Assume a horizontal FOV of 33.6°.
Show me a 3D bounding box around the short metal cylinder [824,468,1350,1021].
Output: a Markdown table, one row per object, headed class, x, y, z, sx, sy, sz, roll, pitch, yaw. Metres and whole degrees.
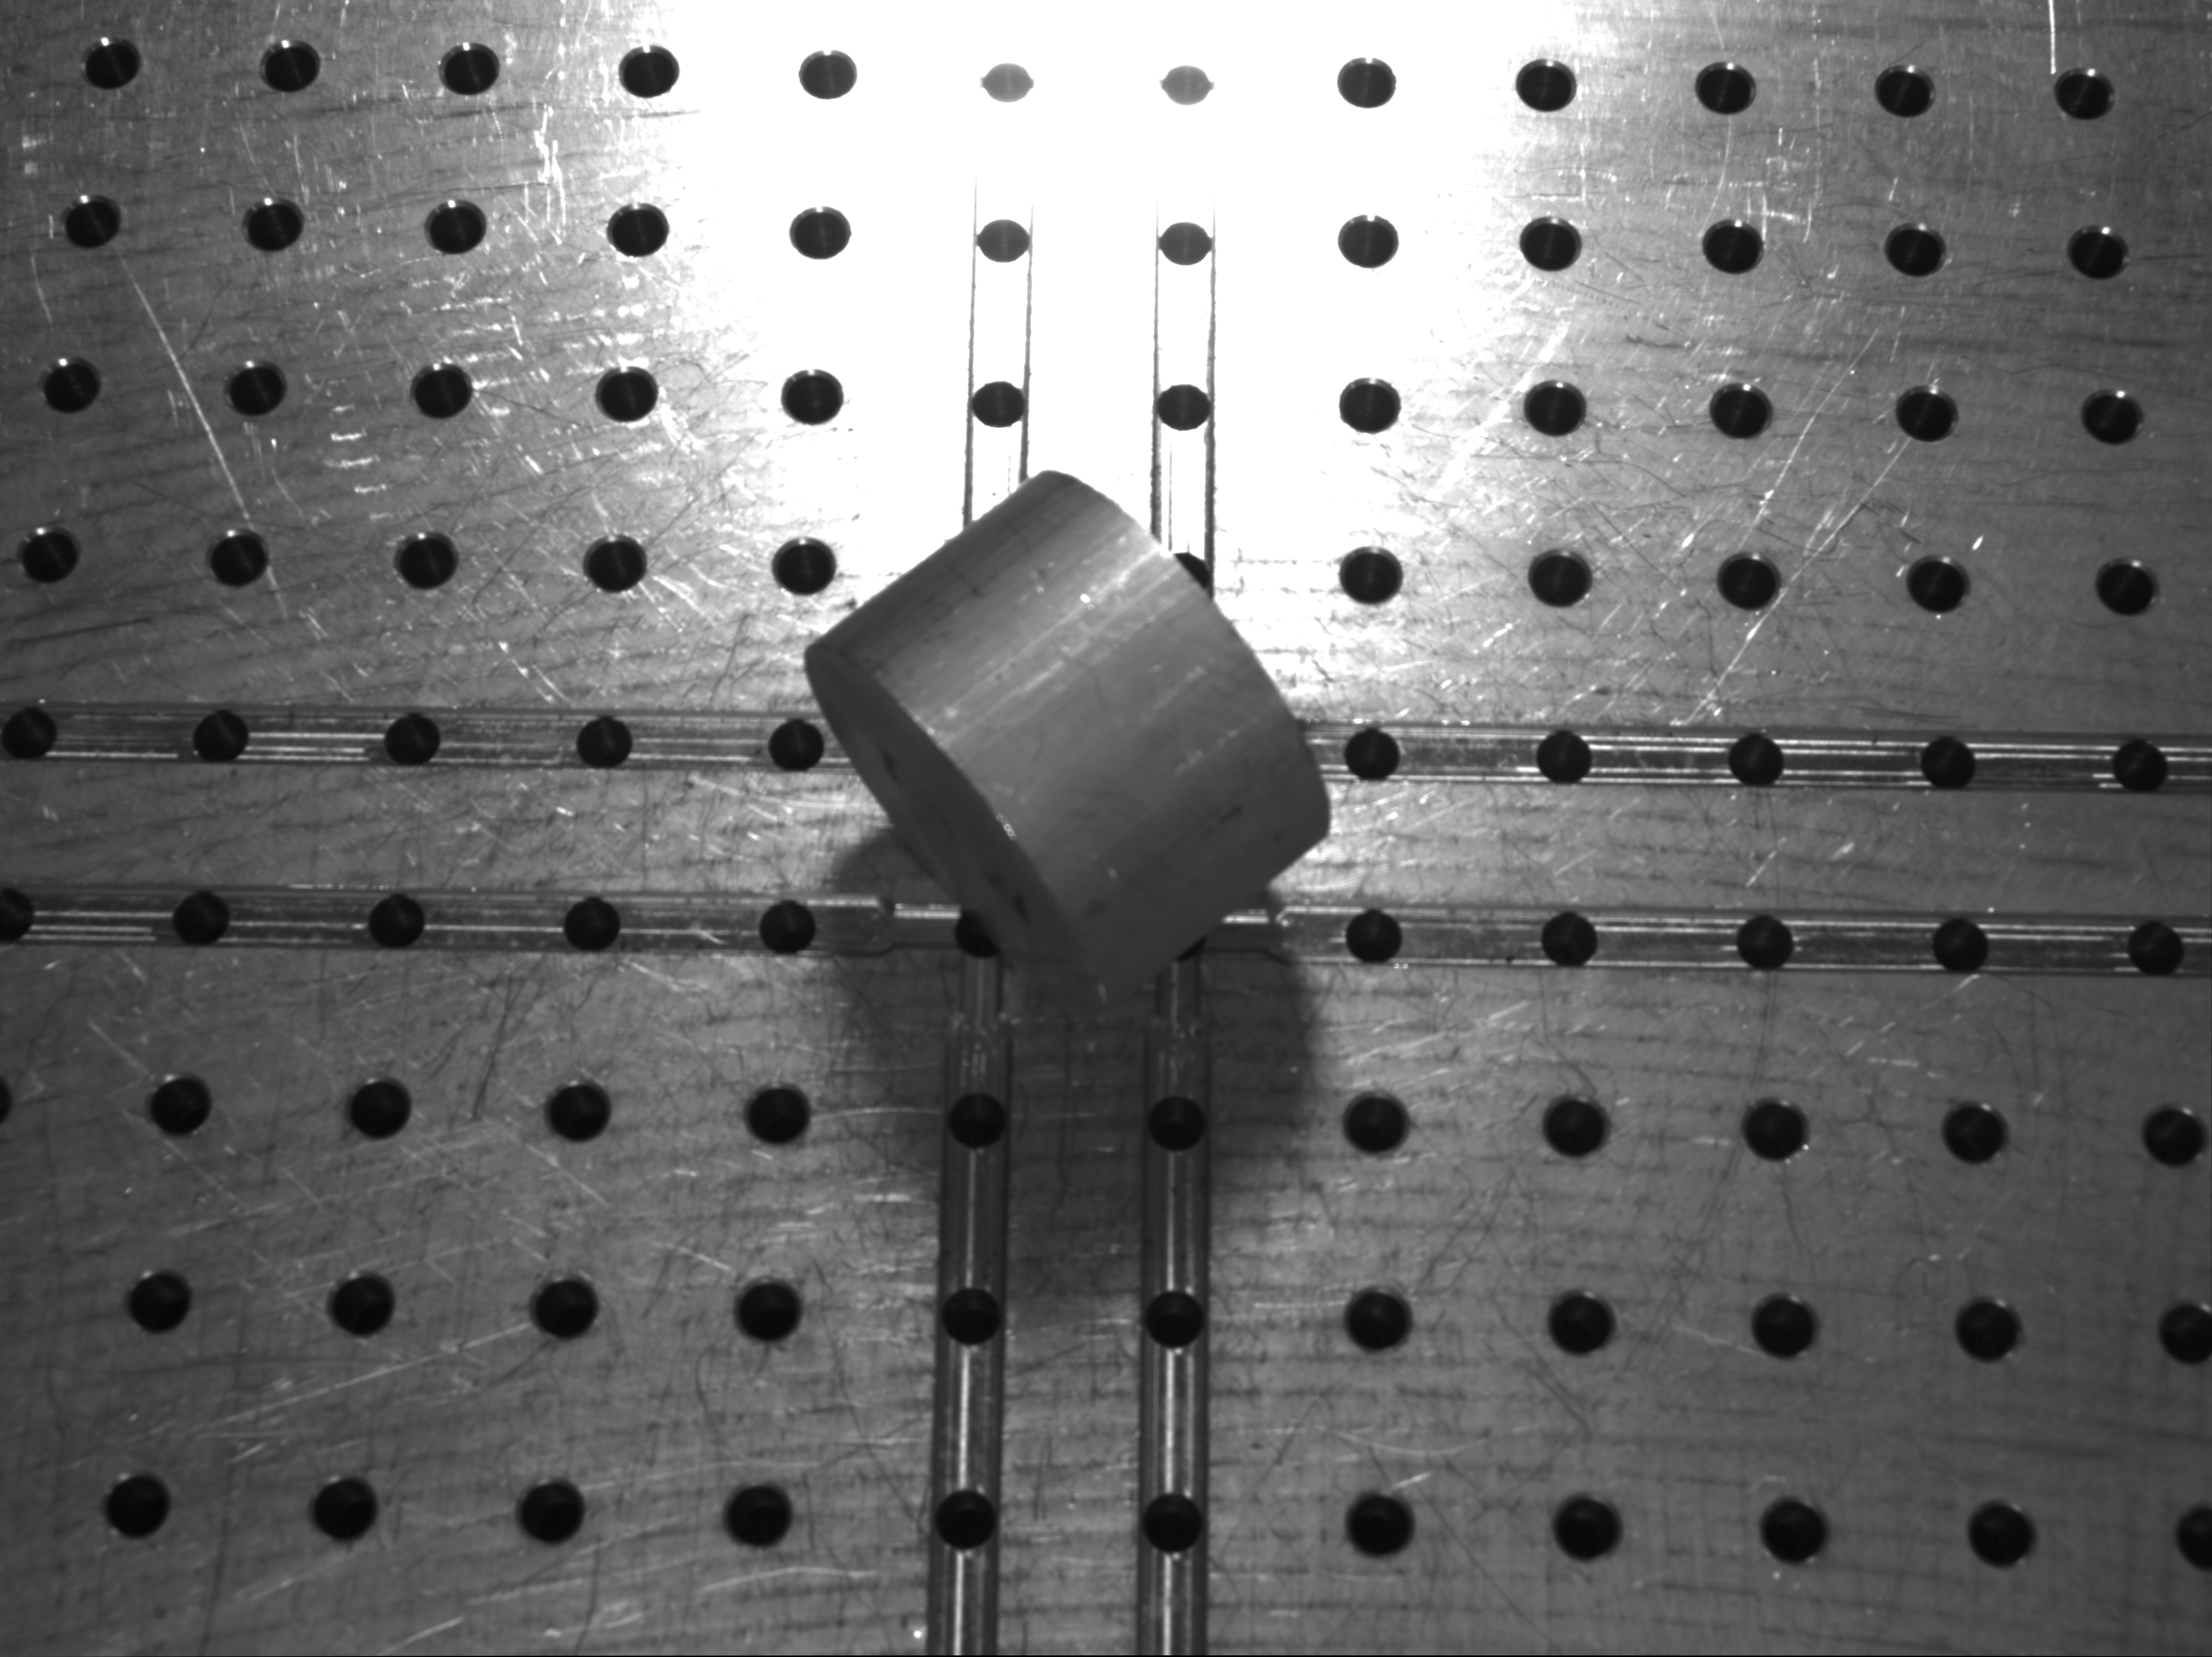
| class | x | y | z | sx | sy | sz | roll | pitch | yaw |
| --- | --- | --- | --- | --- | --- | --- | --- | --- | --- |
| short metal cylinder | -0.004 | -0.014 | 0.623 | 0.050 | 0.080 | 0.080 | -38 | 74 | -13 |
